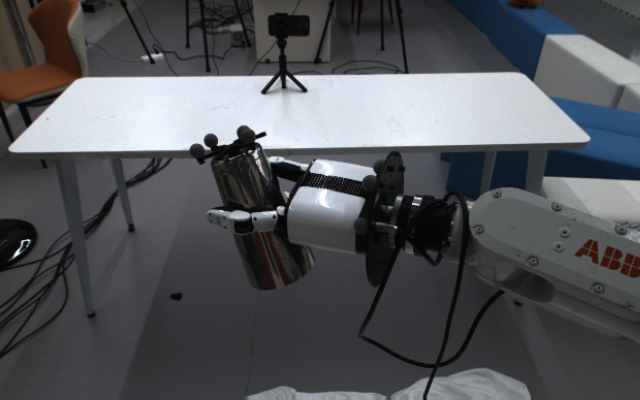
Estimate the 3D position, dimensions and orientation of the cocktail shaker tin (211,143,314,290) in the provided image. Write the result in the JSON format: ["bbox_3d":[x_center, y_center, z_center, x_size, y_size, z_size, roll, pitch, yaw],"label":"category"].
[{"bbox_3d":[-0.076,0.018,0.615,0.093,0.170,0.093,-17,21,7],"label":"cocktail shaker tin"}]
